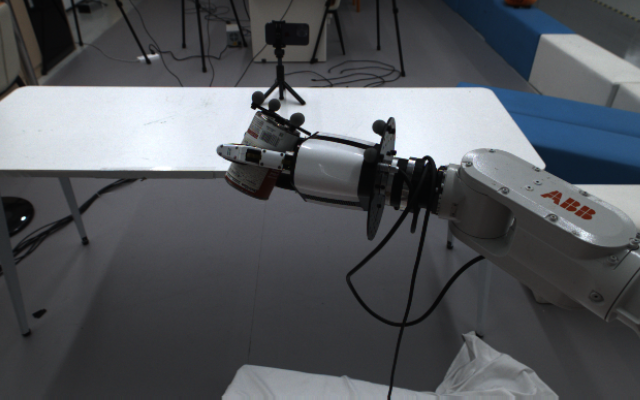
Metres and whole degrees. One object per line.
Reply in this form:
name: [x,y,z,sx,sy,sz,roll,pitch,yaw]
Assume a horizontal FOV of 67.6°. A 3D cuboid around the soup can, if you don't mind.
soup can: [-0.078,-0.059,0.655,0.067,0.101,0.067,27,10,-5]
